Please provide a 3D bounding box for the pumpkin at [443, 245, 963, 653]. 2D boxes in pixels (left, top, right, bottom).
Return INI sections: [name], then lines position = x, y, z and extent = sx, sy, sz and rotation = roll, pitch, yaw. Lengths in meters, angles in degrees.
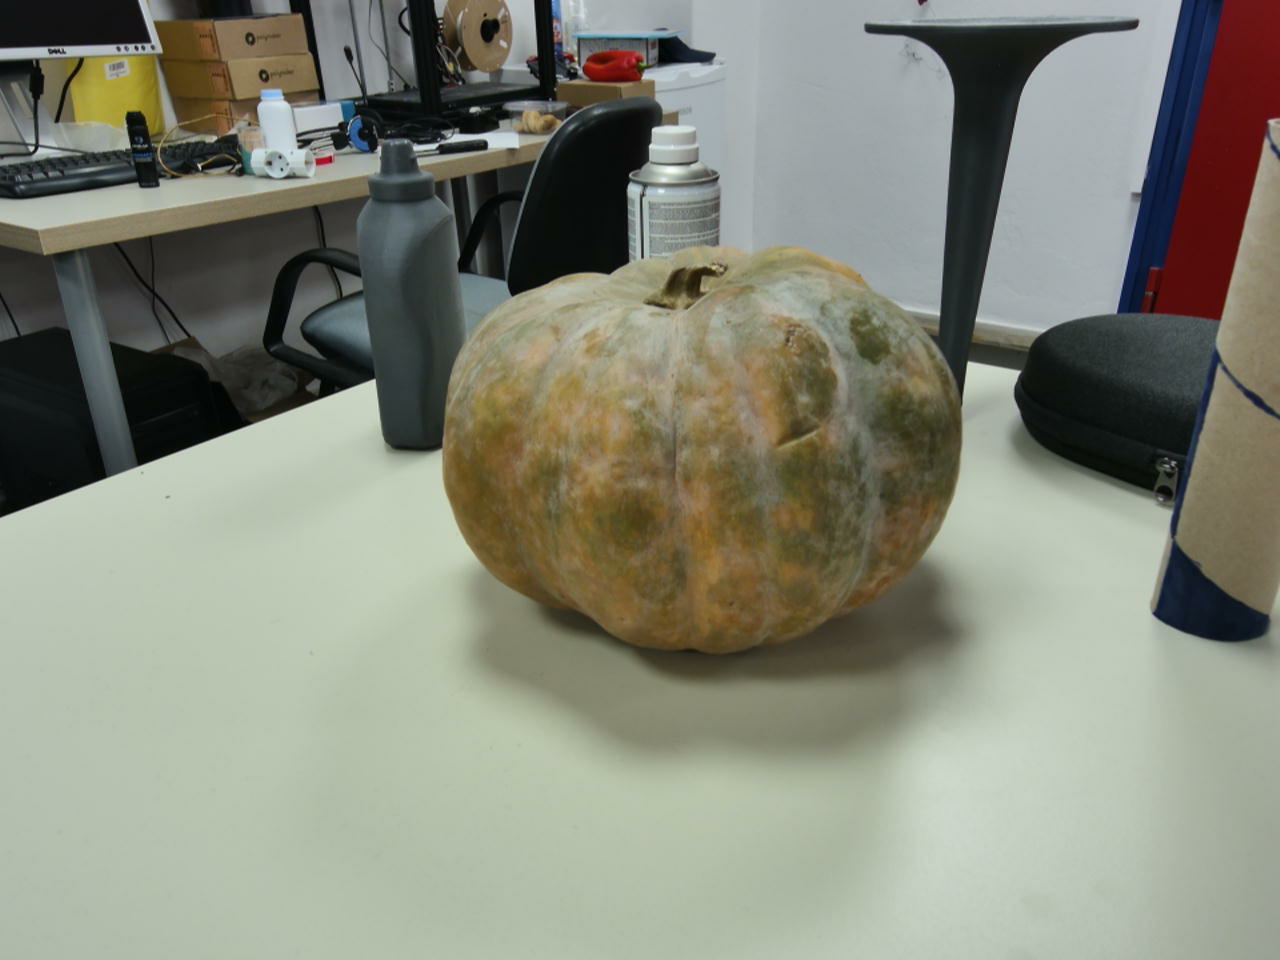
[pumpkin]
position = 0.026, -0.024, 0.481
extent = 0.252, 0.169, 0.251
rotation = 0, 25, 0
